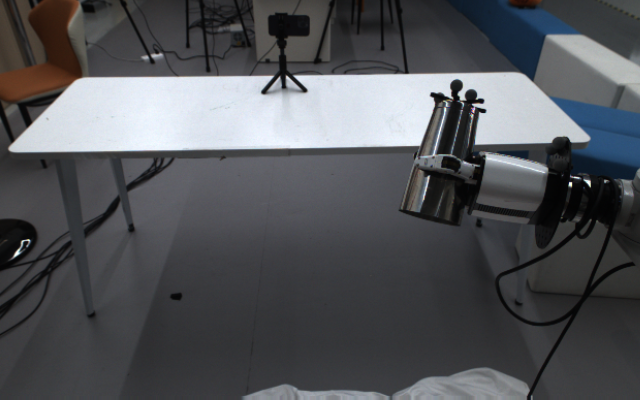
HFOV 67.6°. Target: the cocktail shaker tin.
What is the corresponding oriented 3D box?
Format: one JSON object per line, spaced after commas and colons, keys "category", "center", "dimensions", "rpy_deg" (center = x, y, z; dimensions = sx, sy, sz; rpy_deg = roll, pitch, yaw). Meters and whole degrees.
{"category": "cocktail shaker tin", "center": [0.182, -0.056, 0.714], "dimensions": [0.093, 0.170, 0.093], "rpy_deg": [16, -4, 1]}
